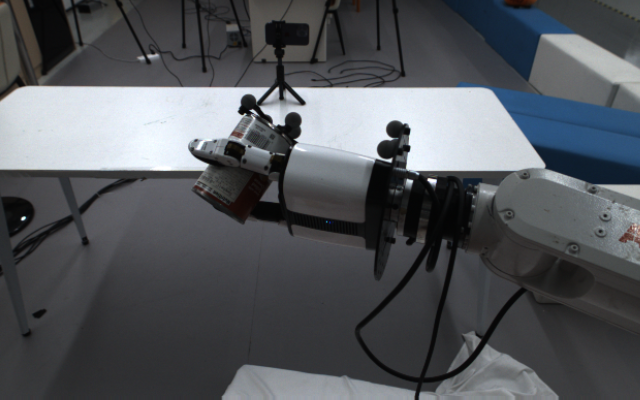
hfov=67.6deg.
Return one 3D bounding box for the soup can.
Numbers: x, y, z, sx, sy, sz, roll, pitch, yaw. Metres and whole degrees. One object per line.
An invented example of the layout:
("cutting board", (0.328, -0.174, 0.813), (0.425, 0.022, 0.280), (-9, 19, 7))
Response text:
("soup can", (-0.081, -0.034, 0.527), (0.067, 0.067, 0.101), (27, 78, 31))
